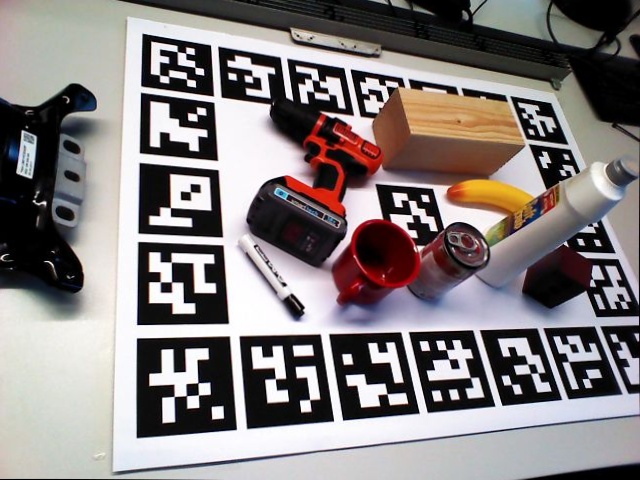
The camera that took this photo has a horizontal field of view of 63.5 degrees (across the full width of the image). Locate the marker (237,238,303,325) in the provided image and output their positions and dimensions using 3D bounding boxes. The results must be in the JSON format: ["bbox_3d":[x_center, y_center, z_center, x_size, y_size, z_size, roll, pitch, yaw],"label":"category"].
[{"bbox_3d":[-0.059,0.050,0.621,0.019,0.020,0.121,-30,77,-30],"label":"marker"}]

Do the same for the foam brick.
[{"bbox_3d":[0.352,0.060,0.743,0.053,0.078,0.051,31,53,-1],"label":"foam brick"}]

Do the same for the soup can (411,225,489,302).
[{"bbox_3d":[0.166,0.029,0.662,0.068,0.103,0.067,11,55,-17],"label":"soup can"}]

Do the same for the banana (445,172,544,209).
[{"bbox_3d":[0.286,-0.066,0.806,0.197,0.039,0.074,18,71,-14],"label":"banana"}]

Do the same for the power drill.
[{"bbox_3d":[-0.009,-0.086,0.698,0.184,0.058,0.185,29,54,-8],"label":"power drill"}]

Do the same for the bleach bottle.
[{"bbox_3d":[0.301,-0.025,0.663,0.068,0.252,0.102,28,55,-5],"label":"bleach bottle"}]

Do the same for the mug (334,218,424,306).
[{"bbox_3d":[0.061,0.036,0.635,0.093,0.082,0.116,41,59,1],"label":"mug"}]

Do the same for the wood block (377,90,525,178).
[{"bbox_3d":[0.205,-0.158,0.799,0.206,0.091,0.089,1,63,-21],"label":"wood block"}]
